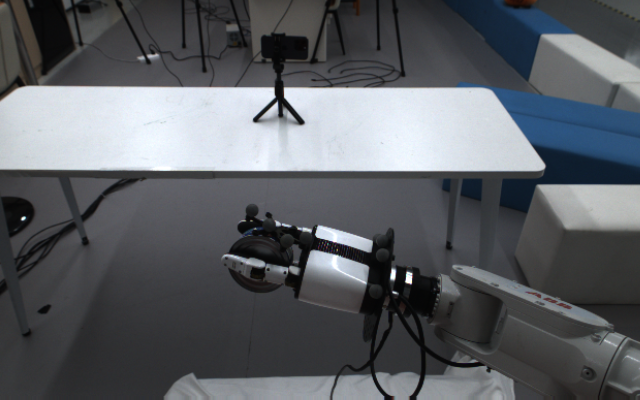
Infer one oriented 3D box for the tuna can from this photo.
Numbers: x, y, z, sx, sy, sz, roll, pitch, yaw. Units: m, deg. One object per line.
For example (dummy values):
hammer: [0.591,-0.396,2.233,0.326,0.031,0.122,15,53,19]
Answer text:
tuna can: [-0.077,0.080,0.658,0.085,0.085,0.034,7,16,7]
